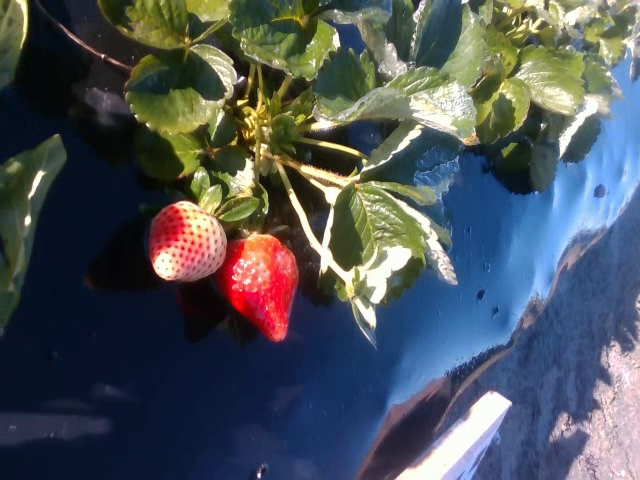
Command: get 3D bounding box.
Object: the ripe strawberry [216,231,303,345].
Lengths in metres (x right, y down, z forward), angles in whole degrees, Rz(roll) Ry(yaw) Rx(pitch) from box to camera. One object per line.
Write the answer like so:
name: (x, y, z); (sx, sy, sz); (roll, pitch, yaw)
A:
ripe strawberry: (-0.020, 0.022, 0.248); (0.040, 0.038, 0.056); (-10, 43, -20)
